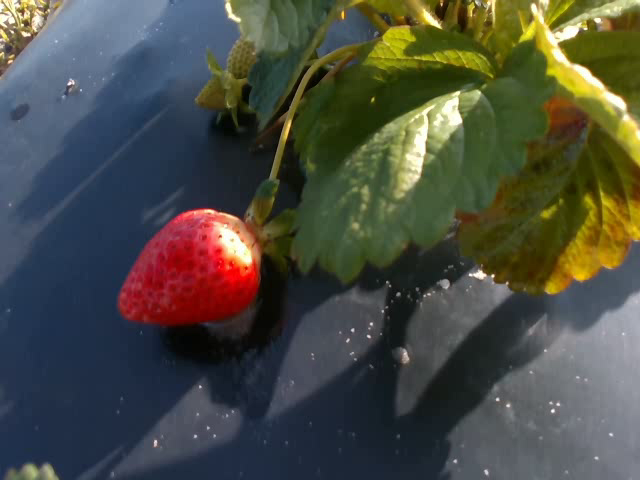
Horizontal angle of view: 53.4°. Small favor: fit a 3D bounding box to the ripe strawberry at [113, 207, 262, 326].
[{"bbox_3d":[-0.034,0.011,0.157,0.044,0.033,0.030,-29,14,-8],"label":"ripe strawberry"}]
